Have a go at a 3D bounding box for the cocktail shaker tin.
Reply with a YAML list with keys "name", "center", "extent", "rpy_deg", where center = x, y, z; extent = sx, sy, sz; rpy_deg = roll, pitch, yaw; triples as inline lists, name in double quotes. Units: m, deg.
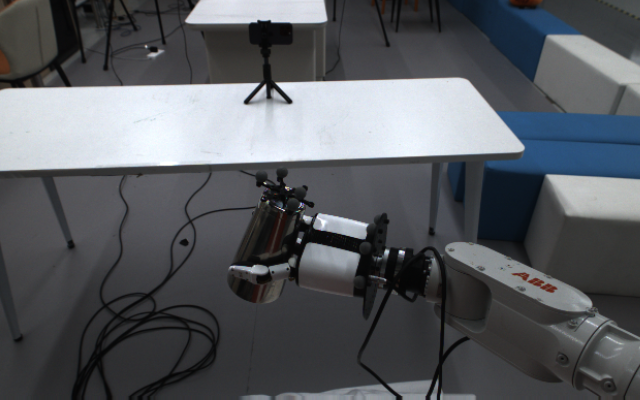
- name: "cocktail shaker tin"
  center: [-0.077, 0.061, 0.731]
  extent: [0.093, 0.170, 0.093]
  rpy_deg: [16, 31, -10]
